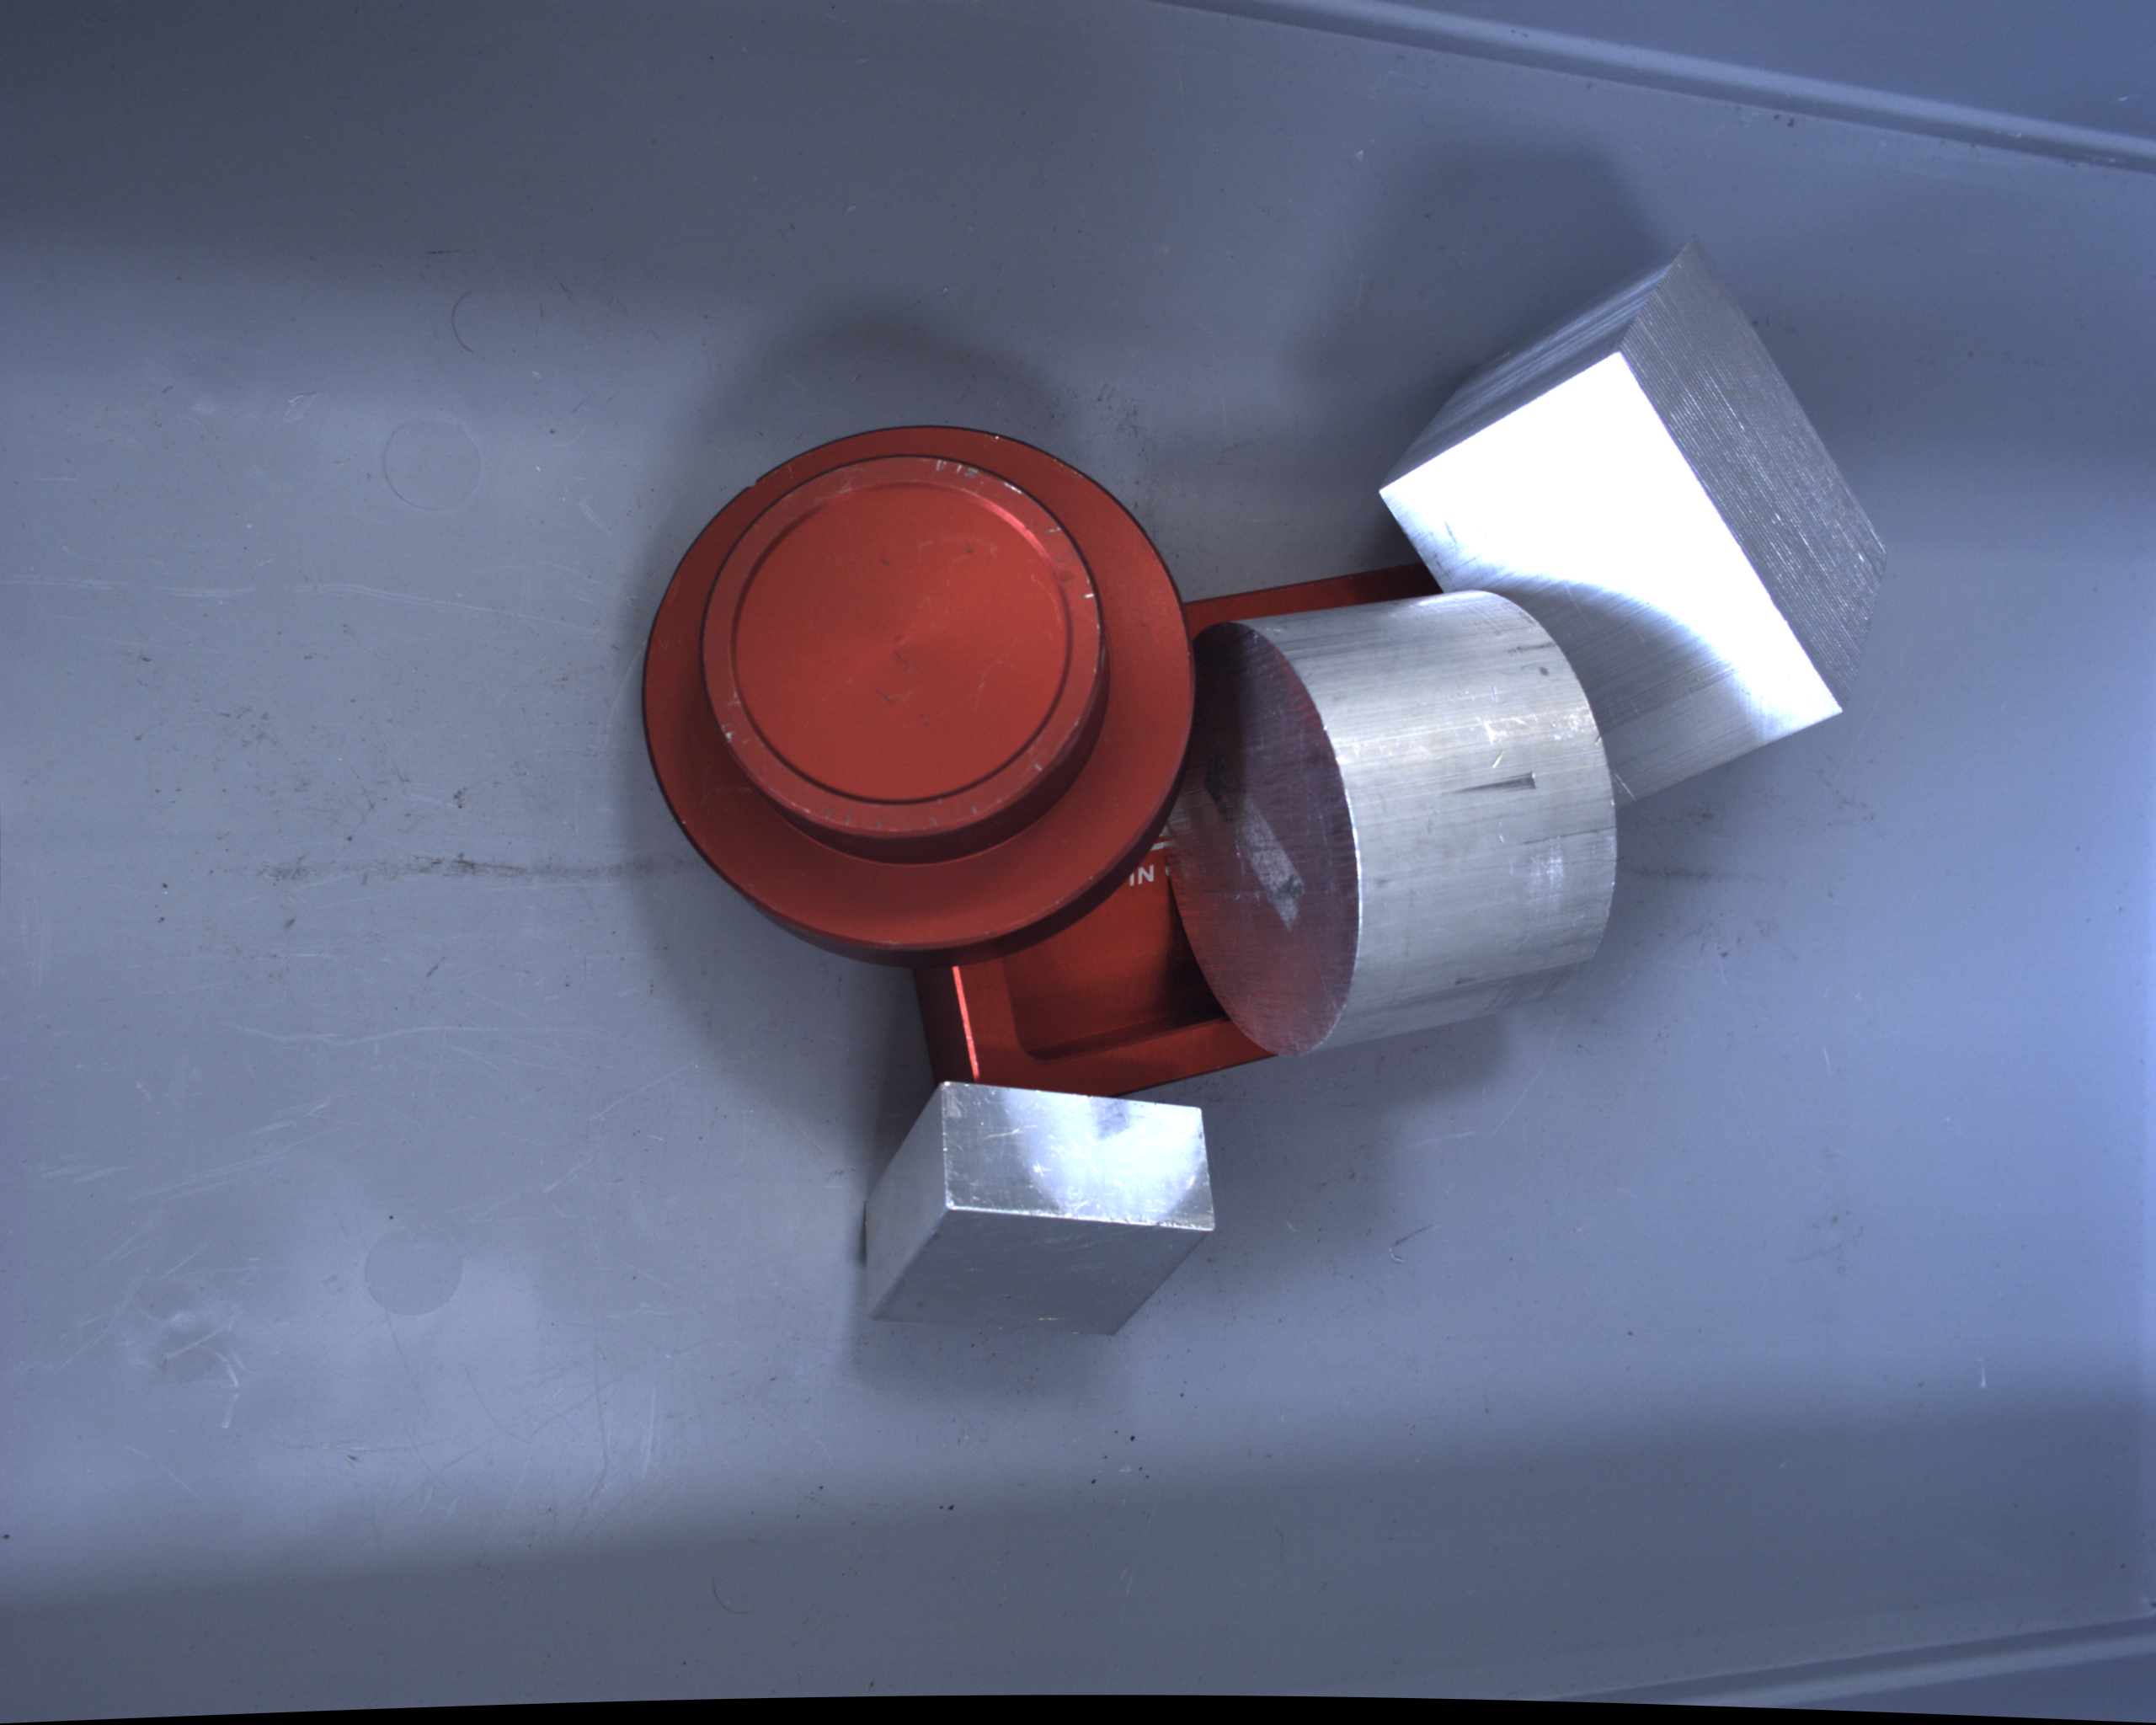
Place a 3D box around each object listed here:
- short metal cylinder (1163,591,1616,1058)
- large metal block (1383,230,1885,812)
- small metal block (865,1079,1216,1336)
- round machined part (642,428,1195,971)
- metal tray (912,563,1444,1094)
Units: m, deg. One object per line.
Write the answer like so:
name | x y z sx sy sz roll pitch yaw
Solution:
short metal cylinder | 0.054 -0.008 0.386 0.050 0.080 0.079 -10 94 -21
large metal block | 0.114 -0.068 0.417 0.080 0.050 0.080 53 38 -13
small metal block | -0.009 0.066 0.390 0.050 0.050 0.025 8 53 -19
round machined part | -0.029 -0.032 0.369 0.099 0.042 0.098 -1 76 3
metal tray | 0.029 -0.007 0.418 0.131 0.030 0.089 -12 94 -20
